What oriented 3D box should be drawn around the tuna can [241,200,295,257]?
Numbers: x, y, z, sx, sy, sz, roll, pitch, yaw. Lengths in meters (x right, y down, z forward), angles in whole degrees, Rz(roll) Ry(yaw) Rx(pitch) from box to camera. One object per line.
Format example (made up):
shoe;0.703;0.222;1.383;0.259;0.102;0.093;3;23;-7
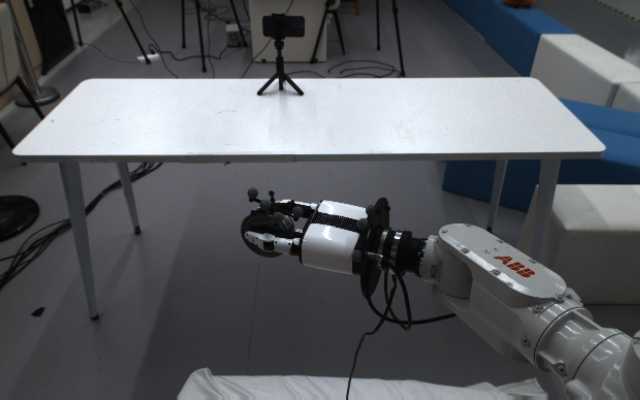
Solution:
tuna can;-0.085;0.052;0.803;0.085;0.085;0.034;13;30;15
